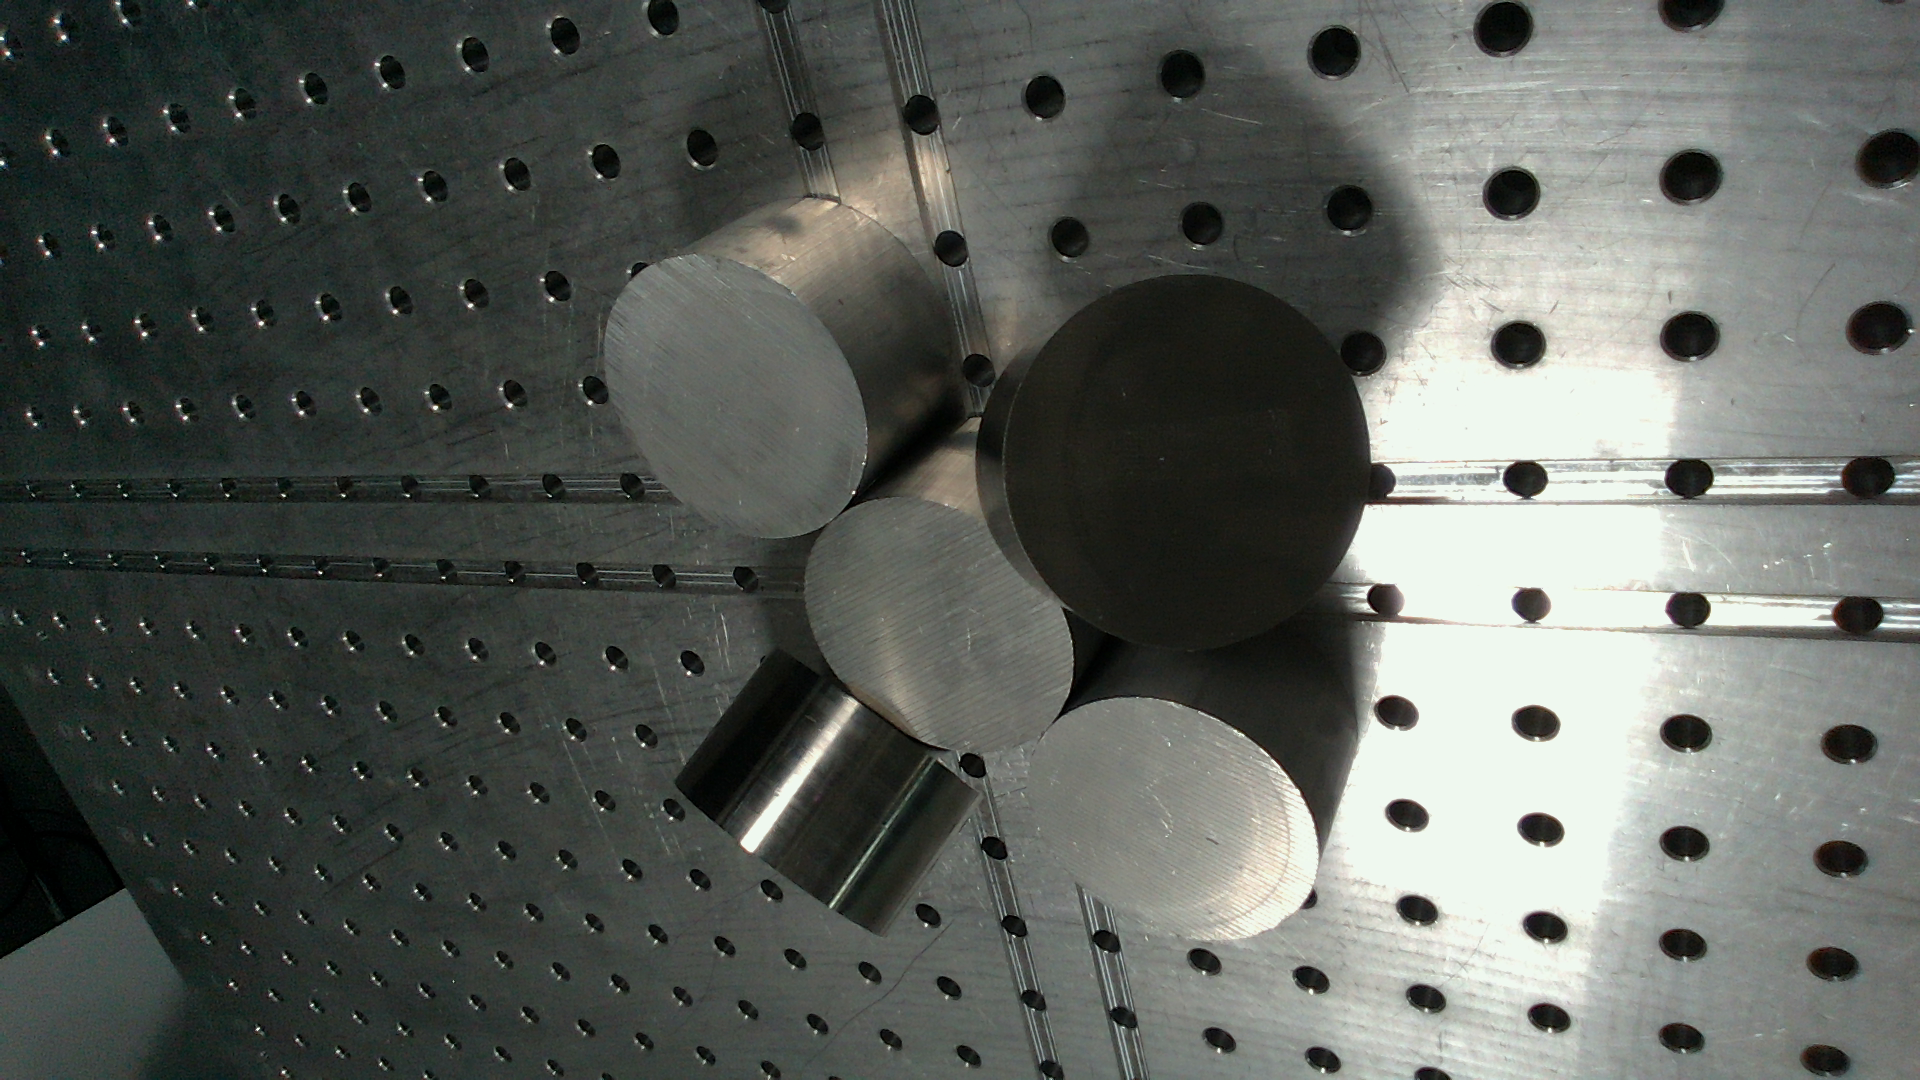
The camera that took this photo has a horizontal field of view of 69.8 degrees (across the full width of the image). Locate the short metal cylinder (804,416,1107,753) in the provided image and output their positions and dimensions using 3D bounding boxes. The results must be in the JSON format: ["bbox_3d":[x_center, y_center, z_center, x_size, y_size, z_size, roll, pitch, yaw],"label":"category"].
[{"bbox_3d":[0.004,0.012,0.385,0.080,0.050,0.080,13,124,21],"label":"short metal cylinder"}]

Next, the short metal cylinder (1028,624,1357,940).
[{"bbox_3d":[0.065,0.063,0.384,0.080,0.050,0.080,13,124,21],"label":"short metal cylinder"}]

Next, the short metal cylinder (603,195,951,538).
[{"bbox_3d":[-0.049,-0.048,0.376,0.080,0.050,0.080,13,124,21],"label":"short metal cylinder"}]

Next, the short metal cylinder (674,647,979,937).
[{"bbox_3d":[-0.040,0.076,0.422,0.080,0.050,0.080,35,171,7],"label":"short metal cylinder"}]

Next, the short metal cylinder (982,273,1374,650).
[{"bbox_3d":[0.047,-0.018,0.317,0.080,0.050,0.080,0,93,-6],"label":"short metal cylinder"}]
